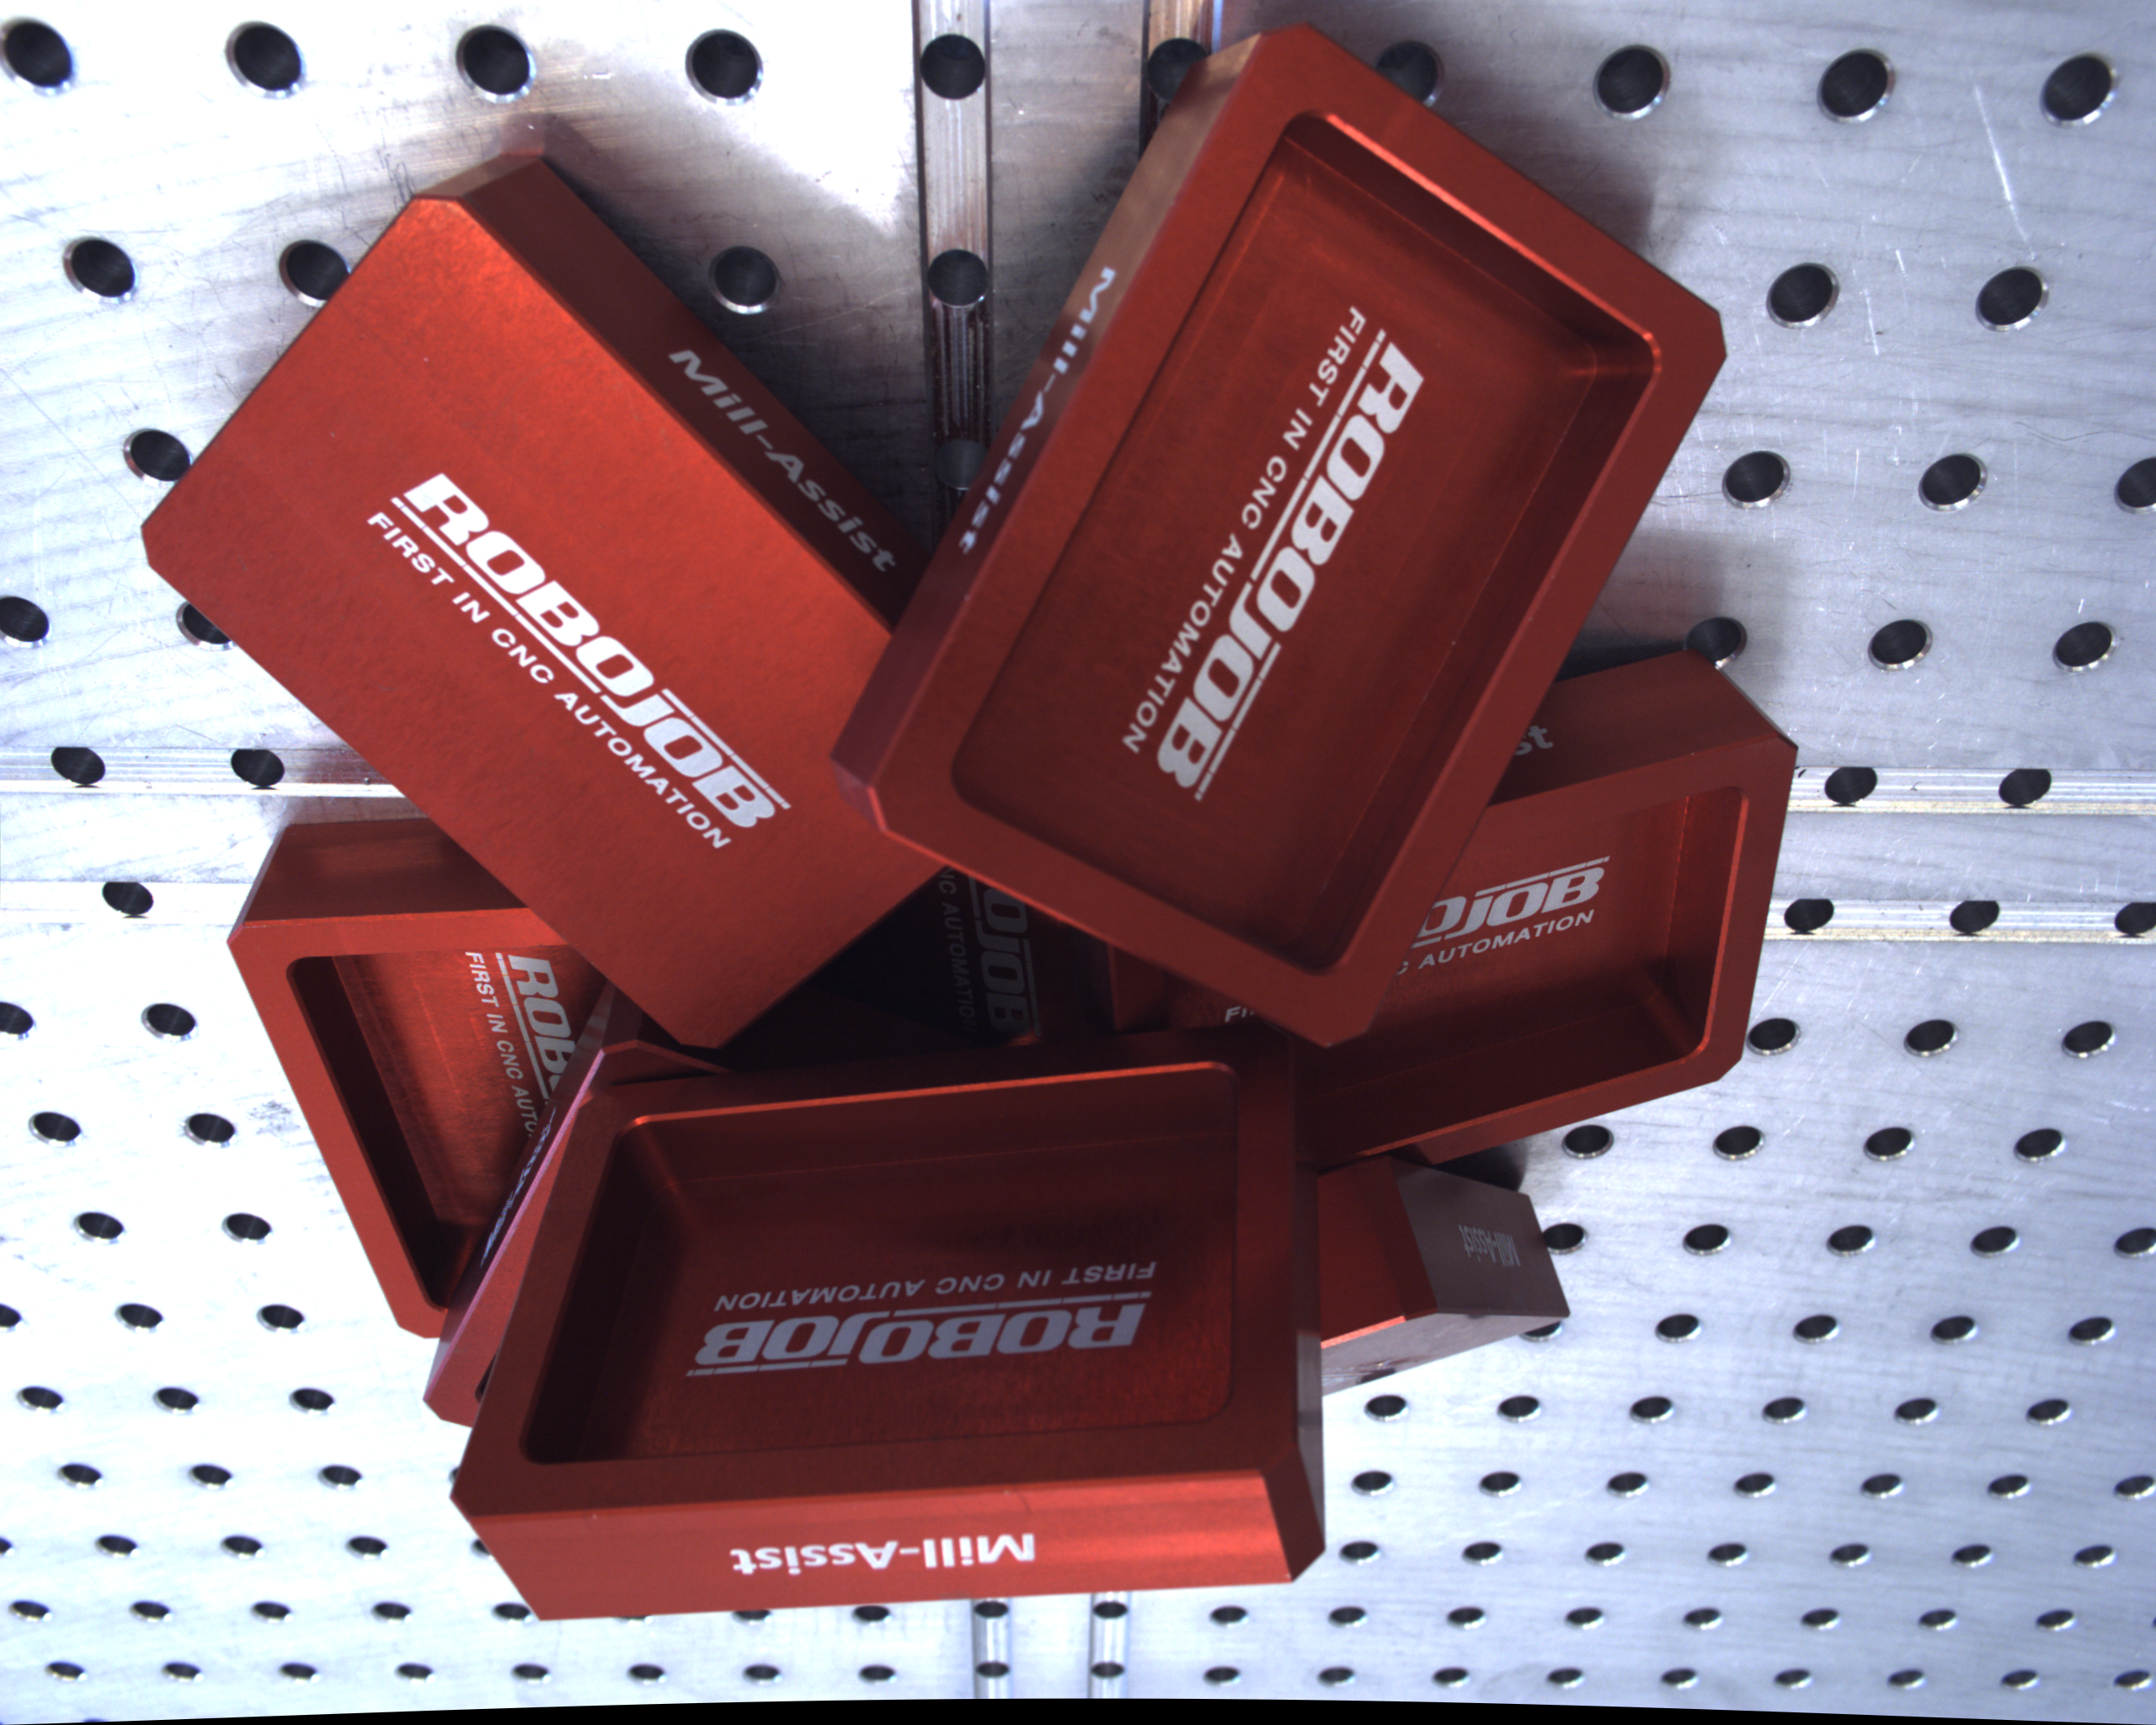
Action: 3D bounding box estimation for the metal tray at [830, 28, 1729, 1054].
[{"bbox_3d":[0.031,-0.047,0.325,0.090,0.030,0.130,27,92,-21],"label":"metal tray"}]

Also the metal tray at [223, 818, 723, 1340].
[{"bbox_3d":[-0.115,0.049,0.449,0.090,0.030,0.129,-4,129,2],"label":"metal tray"}]

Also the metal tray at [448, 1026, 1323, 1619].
[{"bbox_3d":[-0.027,0.074,0.347,0.130,0.090,0.030,-6,130,11],"label":"metal tray"}]

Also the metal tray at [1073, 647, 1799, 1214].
[{"bbox_3d":[0.066,0.017,0.399,0.131,0.030,0.090,-15,131,-10],"label":"metal tray"}]

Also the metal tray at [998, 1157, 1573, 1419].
[{"bbox_3d":[0.046,0.096,0.446,0.090,0.030,0.130,-23,160,19],"label":"metal tray"}]

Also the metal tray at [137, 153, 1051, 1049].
[{"bbox_3d":[-0.079,-0.039,0.352,0.090,0.030,0.130,-38,106,27],"label":"metal tray"}]

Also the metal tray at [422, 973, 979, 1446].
[{"bbox_3d":[-0.073,0.081,0.436,0.090,0.030,0.129,21,127,-17],"label":"metal tray"}]

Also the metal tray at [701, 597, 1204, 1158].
[{"bbox_3d":[-0.019,0.009,0.415,0.090,0.030,0.129,-5,128,1],"label":"metal tray"}]
